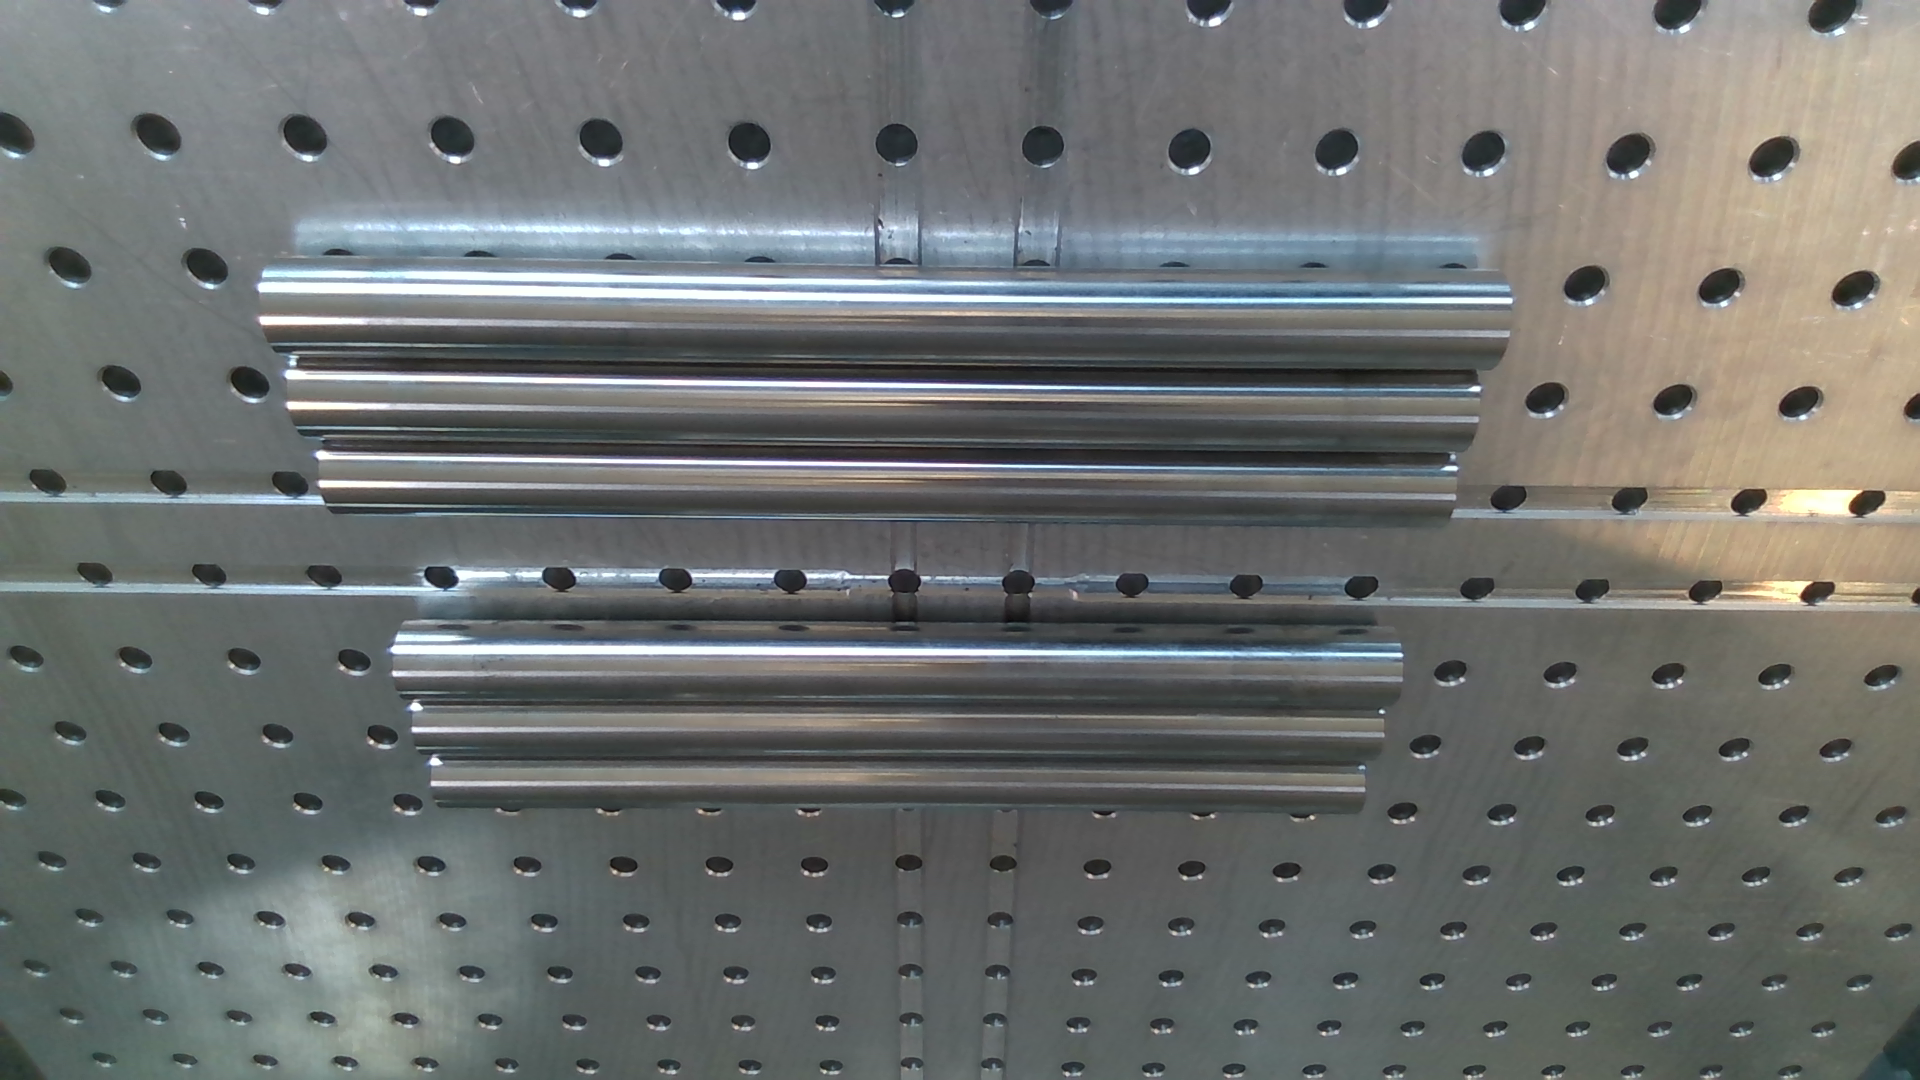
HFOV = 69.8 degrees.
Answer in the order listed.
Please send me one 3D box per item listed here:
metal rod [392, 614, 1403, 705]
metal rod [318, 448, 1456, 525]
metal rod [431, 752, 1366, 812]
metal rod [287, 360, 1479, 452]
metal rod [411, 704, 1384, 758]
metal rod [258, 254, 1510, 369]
[{"bbox_3d":[-0.018,0.037,0.421,0.300,0.025,0.025,1,130,0],"label":"metal rod"},{"bbox_3d":[-0.019,-0.018,0.375,0.300,0.025,0.025,1,130,0],"label":"metal rod"},{"bbox_3d":[-0.020,0.076,0.454,0.300,0.025,0.025,1,130,0],"label":"metal rod"},{"bbox_3d":[-0.019,-0.037,0.359,0.300,0.025,0.025,1,130,0],"label":"metal rod"},{"bbox_3d":[-0.019,0.056,0.437,0.300,0.025,0.025,1,130,0],"label":"metal rod"},{"bbox_3d":[-0.018,-0.057,0.342,0.300,0.025,0.025,1,130,0],"label":"metal rod"}]
